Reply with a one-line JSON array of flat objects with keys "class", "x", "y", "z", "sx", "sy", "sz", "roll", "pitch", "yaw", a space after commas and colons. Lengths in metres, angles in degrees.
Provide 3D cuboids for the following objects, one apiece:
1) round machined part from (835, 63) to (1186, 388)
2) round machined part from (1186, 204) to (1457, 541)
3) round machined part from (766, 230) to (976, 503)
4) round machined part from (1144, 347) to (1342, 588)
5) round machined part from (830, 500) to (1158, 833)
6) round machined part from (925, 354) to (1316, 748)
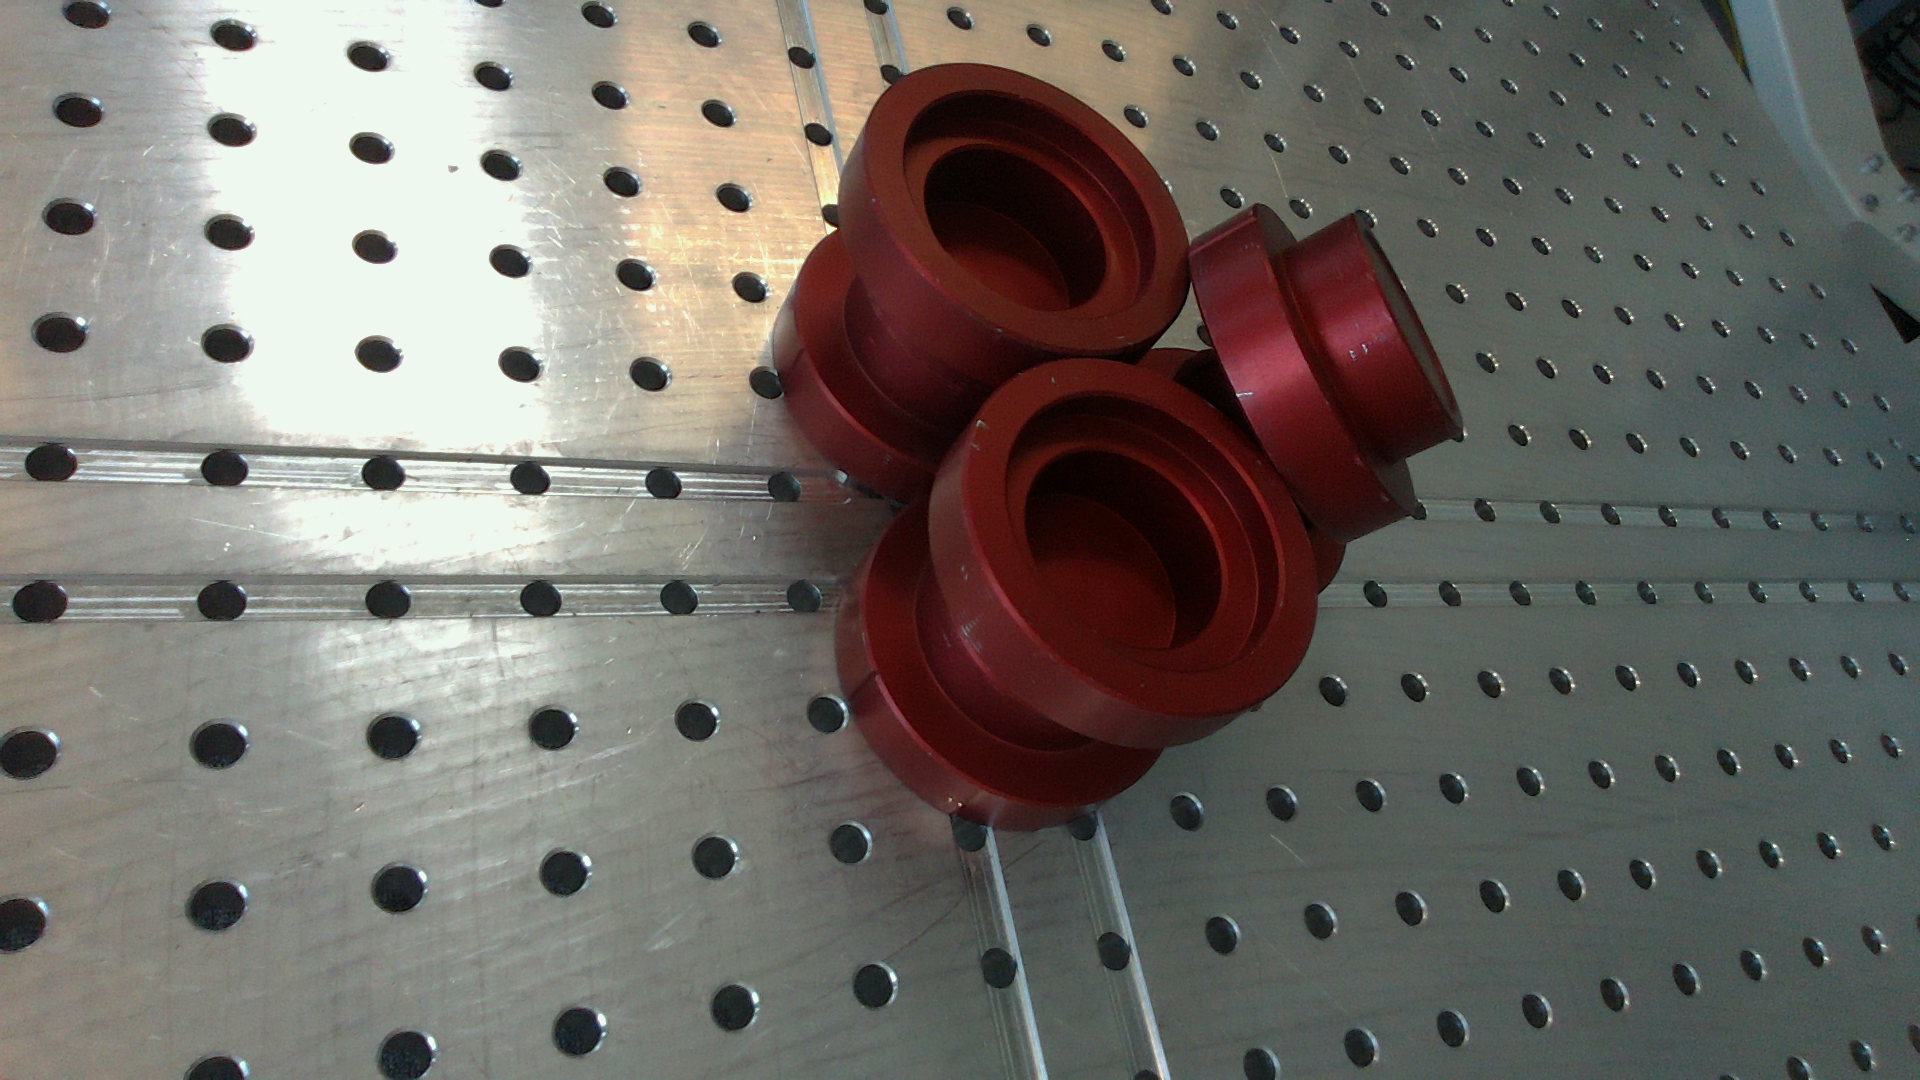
[{"class": "round machined part", "x": 0.011, "y": -0.081, "z": 0.382, "sx": 0.098, "sy": 0.042, "sz": 0.098, "roll": 14, "pitch": 56, "yaw": -21}, {"class": "round machined part", "x": 0.106, "y": -0.052, "z": 0.389, "sx": 0.098, "sy": 0.042, "sz": 0.098, "roll": 45, "pitch": 29, "yaw": -35}, {"class": "round machined part", "x": -0.005, "y": -0.060, "z": 0.417, "sx": 0.098, "sy": 0.042, "sz": 0.098, "roll": 14, "pitch": 56, "yaw": -21}, {"class": "round machined part", "x": 0.083, "y": -0.022, "z": 0.440, "sx": 0.098, "sy": 0.042, "sz": 0.098, "roll": 14, "pitch": 56, "yaw": -21}, {"class": "round machined part", "x": 0.018, "y": 0.026, "z": 0.376, "sx": 0.098, "sy": 0.042, "sz": 0.098, "roll": 14, "pitch": 56, "yaw": -21}, {"class": "round machined part", "x": 0.036, "y": 0.006, "z": 0.343, "sx": 0.098, "sy": 0.042, "sz": 0.098, "roll": 14, "pitch": 56, "yaw": -21}]
